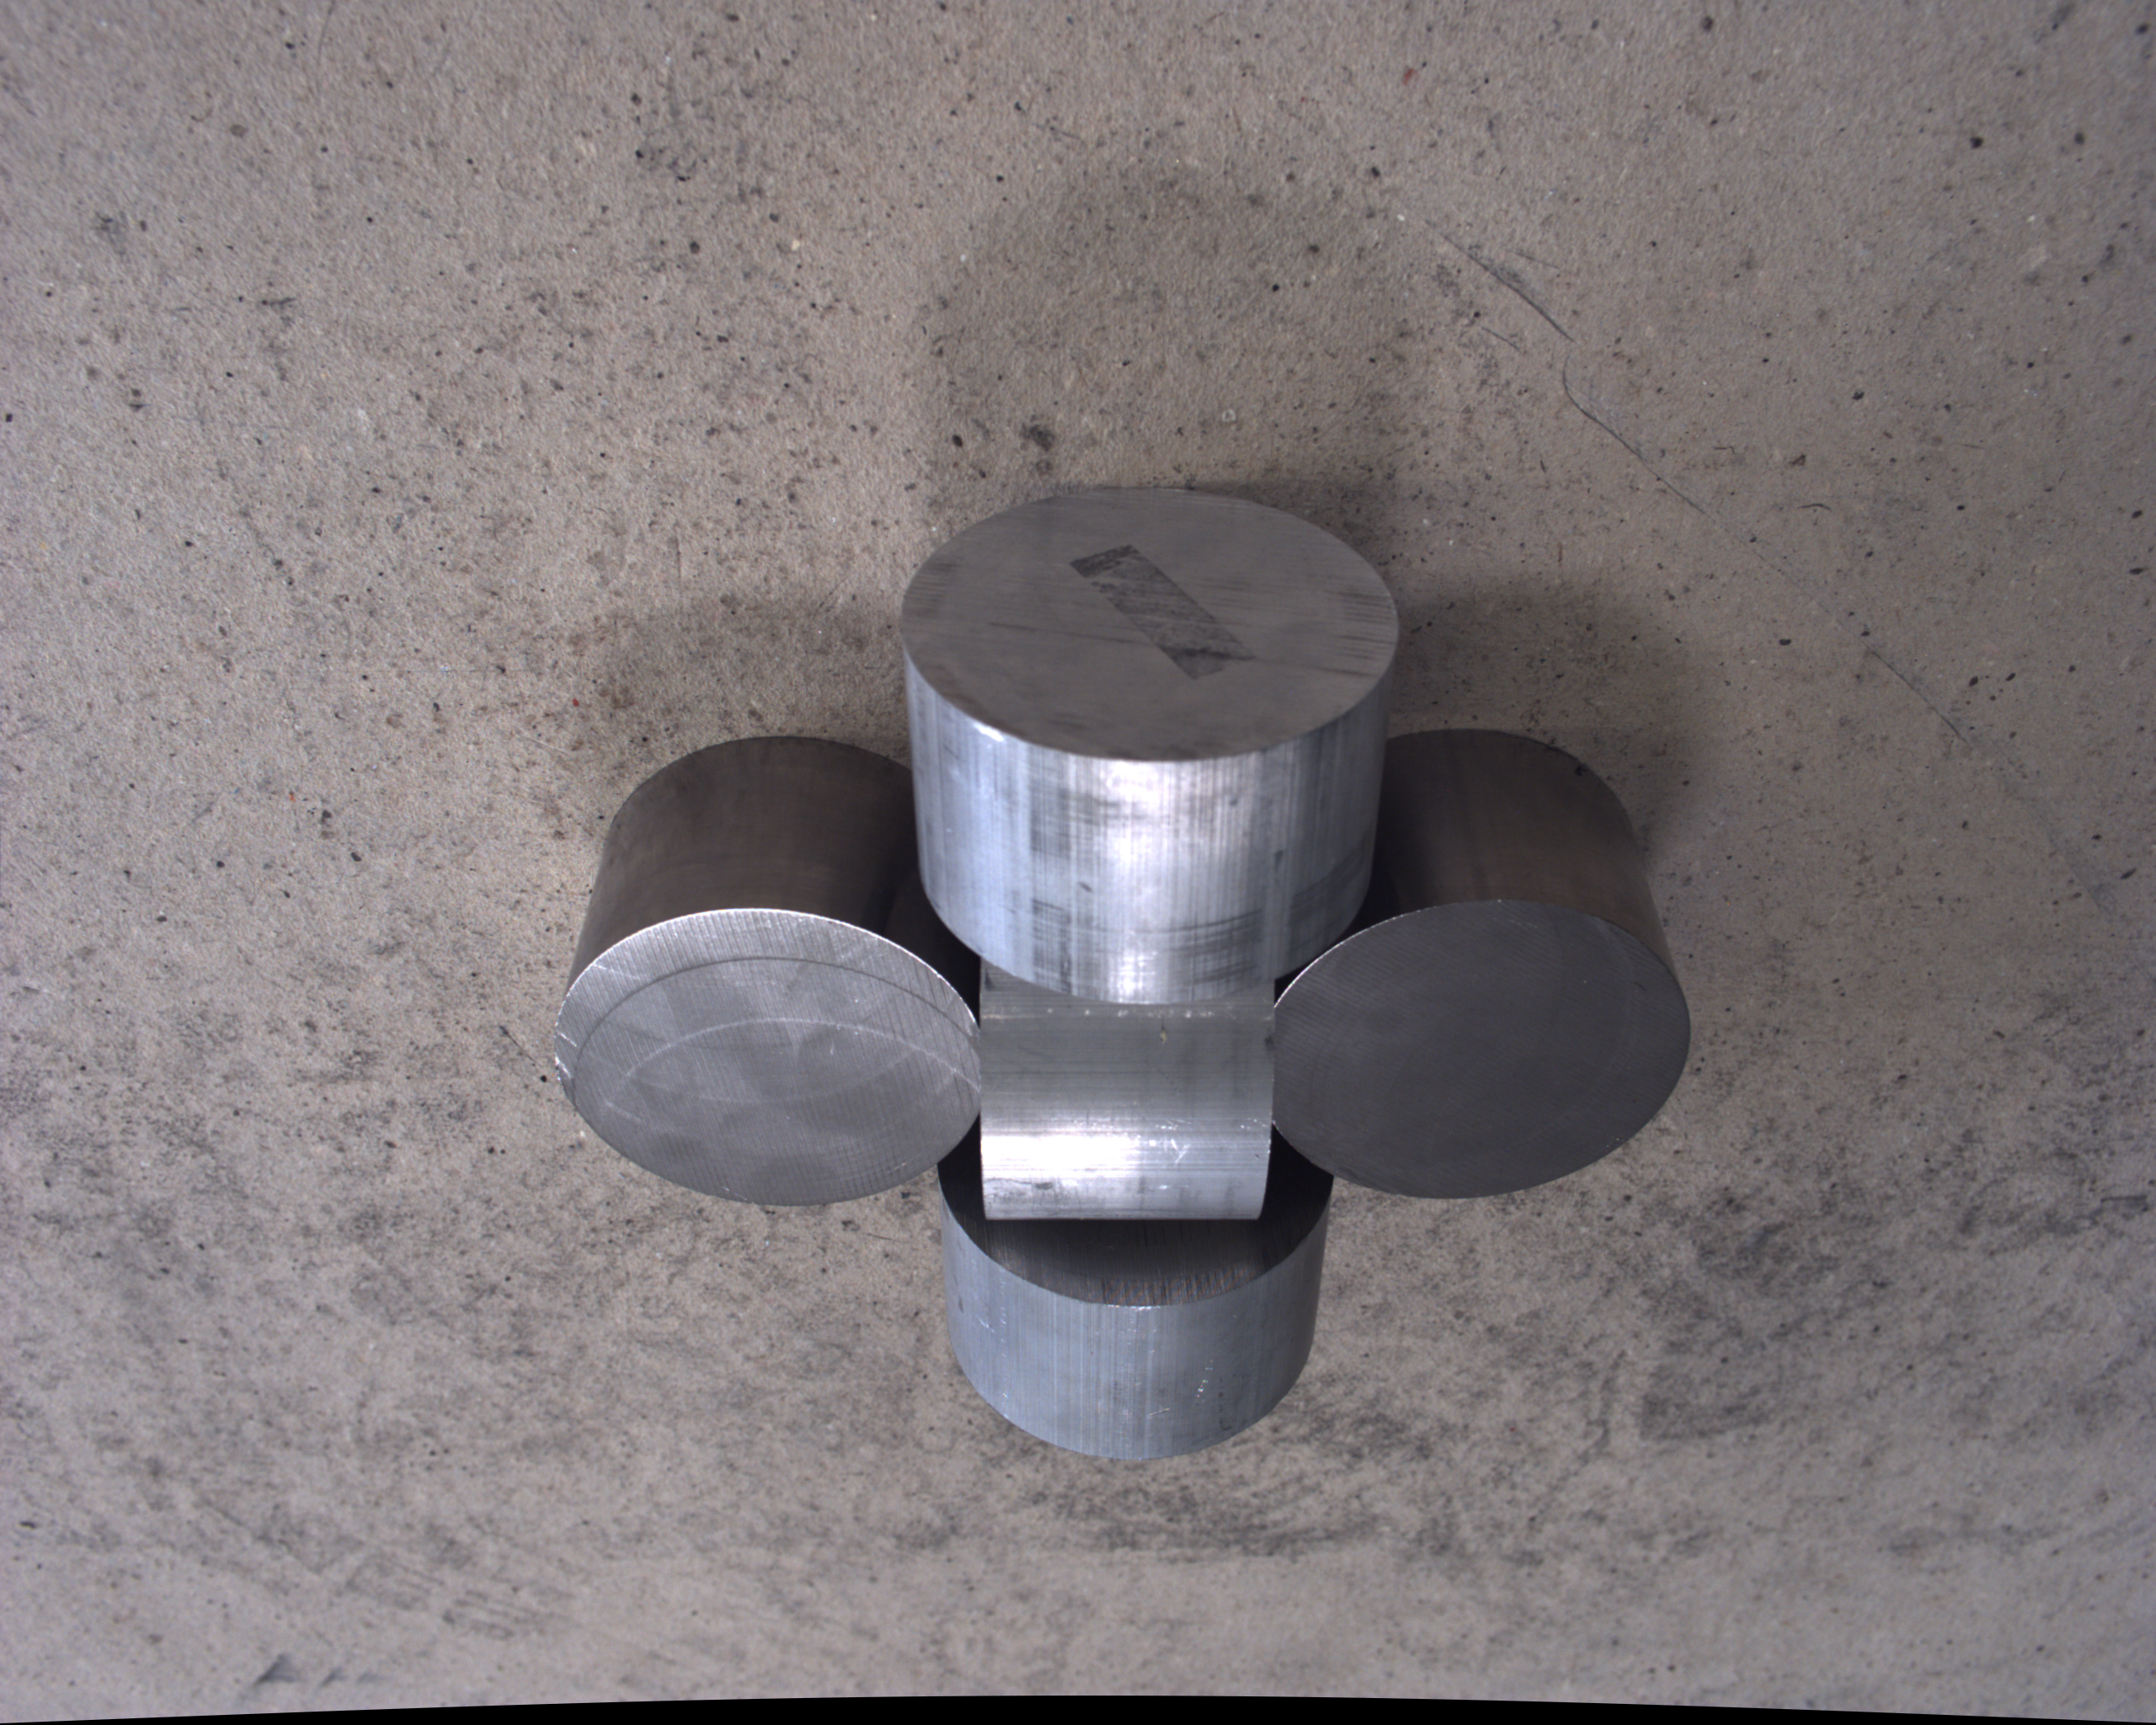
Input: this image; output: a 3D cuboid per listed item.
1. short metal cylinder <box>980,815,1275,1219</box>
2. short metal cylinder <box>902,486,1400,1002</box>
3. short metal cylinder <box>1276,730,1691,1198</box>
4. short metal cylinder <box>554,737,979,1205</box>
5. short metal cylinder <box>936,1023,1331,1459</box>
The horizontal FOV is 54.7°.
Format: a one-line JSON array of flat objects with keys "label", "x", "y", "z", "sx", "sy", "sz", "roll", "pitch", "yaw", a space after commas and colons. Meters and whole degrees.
[{"label": "short metal cylinder", "x": 0.008, "y": 0.028, "z": 0.397, "sx": 0.050, "sy": 0.080, "sz": 0.079, "roll": 0, "pitch": 130, "yaw": 0}, {"label": "short metal cylinder", "x": 0.012, "y": -0.022, "z": 0.354, "sx": 0.081, "sy": 0.080, "sz": 0.050, "roll": 0, "pitch": 130, "yaw": 0}, {"label": "short metal cylinder", "x": 0.074, "y": 0.021, "z": 0.410, "sx": 0.080, "sy": 0.050, "sz": 0.079, "roll": 0, "pitch": 131, "yaw": 0}, {"label": "short metal cylinder", "x": -0.058, "y": 0.022, "z": 0.410, "sx": 0.081, "sy": 0.050, "sz": 0.079, "roll": -1, "pitch": 130, "yaw": -1}, {"label": "short metal cylinder", "x": 0.011, "y": 0.077, "z": 0.439, "sx": 0.081, "sy": 0.080, "sz": 0.050, "roll": 0, "pitch": 130, "yaw": 0}]
